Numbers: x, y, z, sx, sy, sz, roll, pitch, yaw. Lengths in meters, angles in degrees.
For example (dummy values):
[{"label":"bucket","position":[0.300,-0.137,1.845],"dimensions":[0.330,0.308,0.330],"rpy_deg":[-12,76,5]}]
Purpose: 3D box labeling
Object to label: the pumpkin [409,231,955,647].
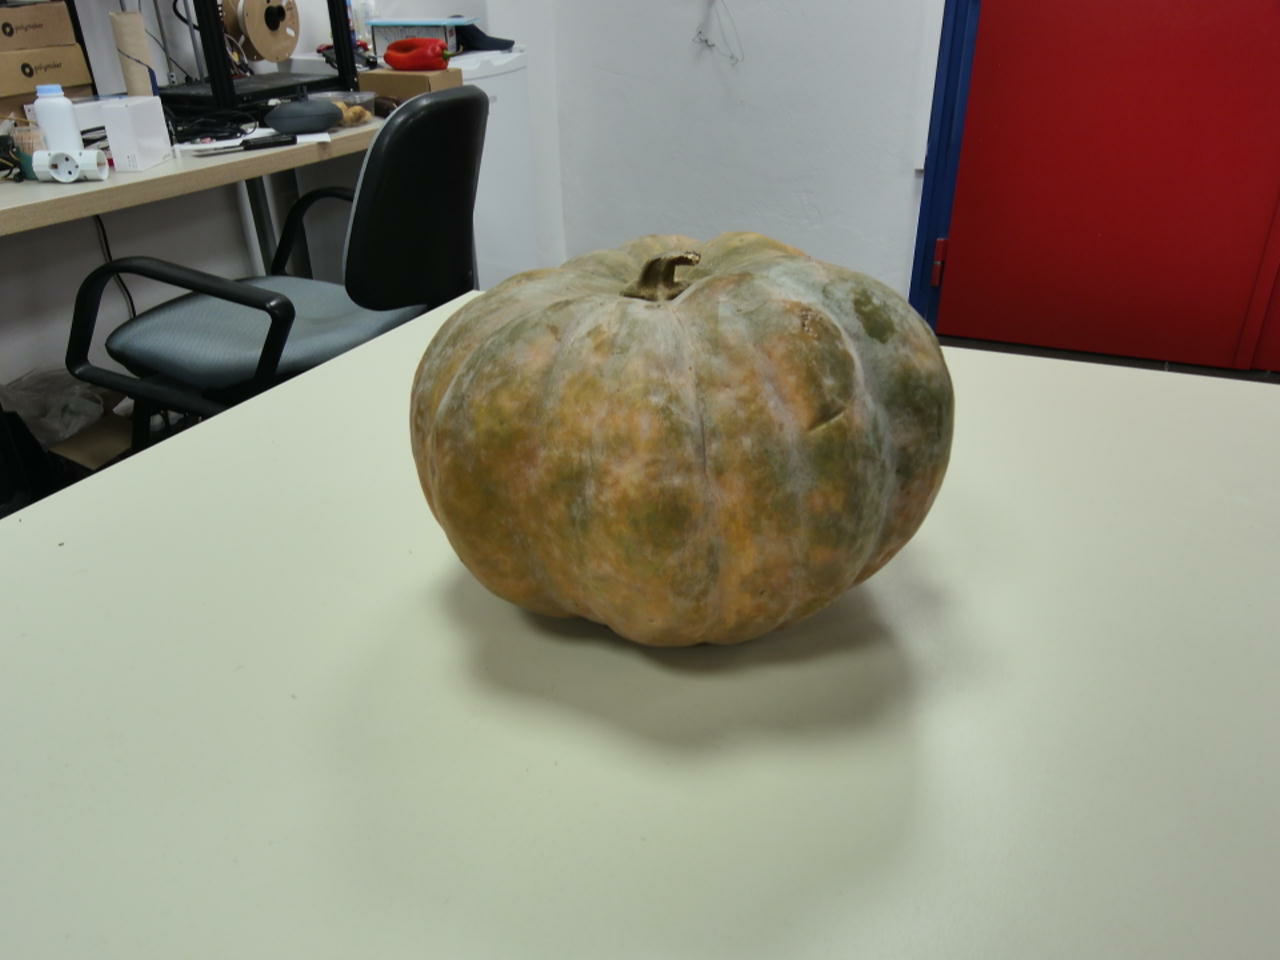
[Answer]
[{"label":"pumpkin","position":[0.014,-0.028,0.474],"dimensions":[0.252,0.169,0.251],"rpy_deg":[0,25,0]}]
